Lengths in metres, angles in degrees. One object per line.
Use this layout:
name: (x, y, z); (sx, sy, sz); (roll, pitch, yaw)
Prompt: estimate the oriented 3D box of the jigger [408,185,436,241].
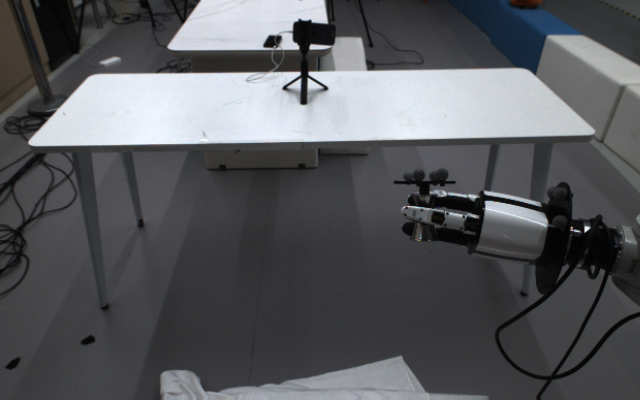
jigger: (0.154, 0.024, 0.718); (0.043, 0.071, 0.043); (-1, 2, 0)
